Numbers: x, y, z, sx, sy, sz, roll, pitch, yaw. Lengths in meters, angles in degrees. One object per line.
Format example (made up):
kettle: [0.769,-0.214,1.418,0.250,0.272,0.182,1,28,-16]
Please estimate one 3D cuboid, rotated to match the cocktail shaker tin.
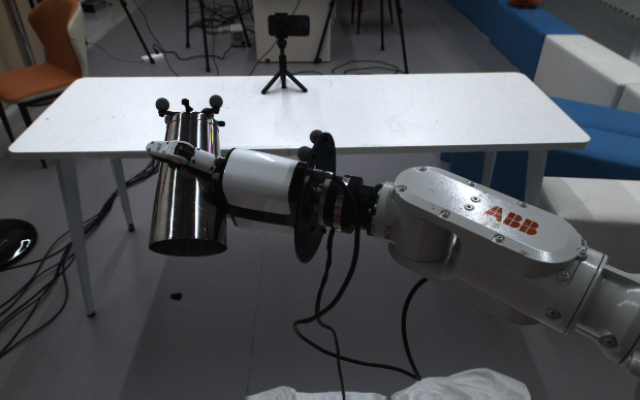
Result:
cocktail shaker tin: [-0.163,-0.021,0.610,0.093,0.093,0.170,-2,71,-6]
